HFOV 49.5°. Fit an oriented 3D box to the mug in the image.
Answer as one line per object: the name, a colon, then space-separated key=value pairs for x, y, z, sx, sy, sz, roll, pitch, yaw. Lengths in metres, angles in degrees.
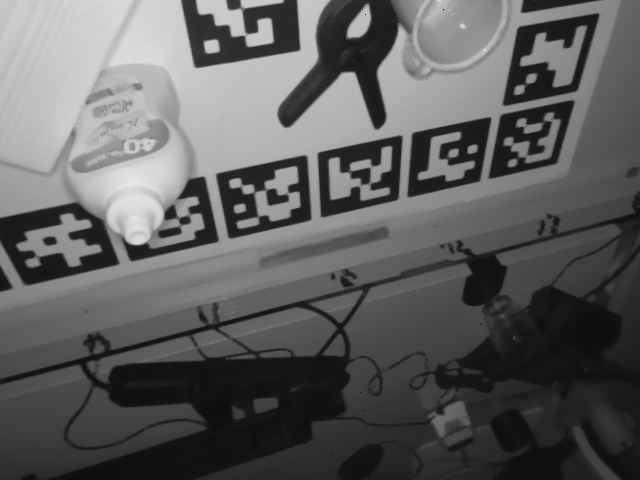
mug: x=0.121 y=-0.213 z=0.656 sx=0.094 sy=0.081 sz=0.115 roll=5 pitch=128 yaw=-26

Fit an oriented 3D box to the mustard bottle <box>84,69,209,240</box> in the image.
mustard bottle: x=-0.142 y=-0.069 z=0.570 sx=0.097 sy=0.192 sz=0.058 roll=-16 pitch=135 yaw=-8

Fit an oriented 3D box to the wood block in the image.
wood block: x=-0.199 y=-0.170 z=0.528 sx=0.091 sy=0.091 sz=0.203 roll=18 pitch=125 yaw=-37

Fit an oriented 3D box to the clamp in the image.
clamp: x=0.042 y=-0.170 z=0.670 sx=0.123 sy=0.036 sz=0.163 roll=3 pitch=128 yaw=-23
